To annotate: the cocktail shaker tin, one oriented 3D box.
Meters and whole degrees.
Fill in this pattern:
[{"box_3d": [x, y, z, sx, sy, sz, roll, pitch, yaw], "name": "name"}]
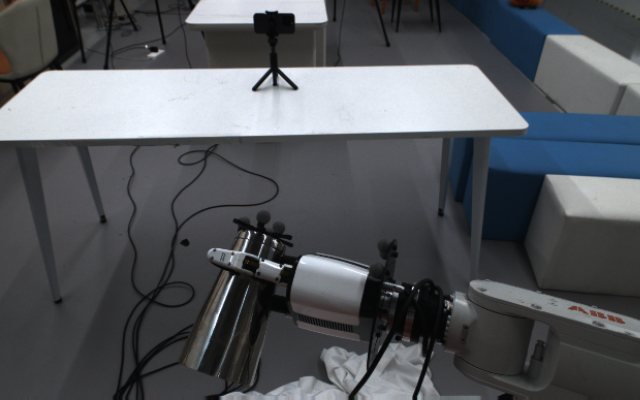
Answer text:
[{"box_3d": [-0.099, 0.128, 0.598, 0.093, 0.093, 0.170, 13, 71, 15], "name": "cocktail shaker tin"}]
